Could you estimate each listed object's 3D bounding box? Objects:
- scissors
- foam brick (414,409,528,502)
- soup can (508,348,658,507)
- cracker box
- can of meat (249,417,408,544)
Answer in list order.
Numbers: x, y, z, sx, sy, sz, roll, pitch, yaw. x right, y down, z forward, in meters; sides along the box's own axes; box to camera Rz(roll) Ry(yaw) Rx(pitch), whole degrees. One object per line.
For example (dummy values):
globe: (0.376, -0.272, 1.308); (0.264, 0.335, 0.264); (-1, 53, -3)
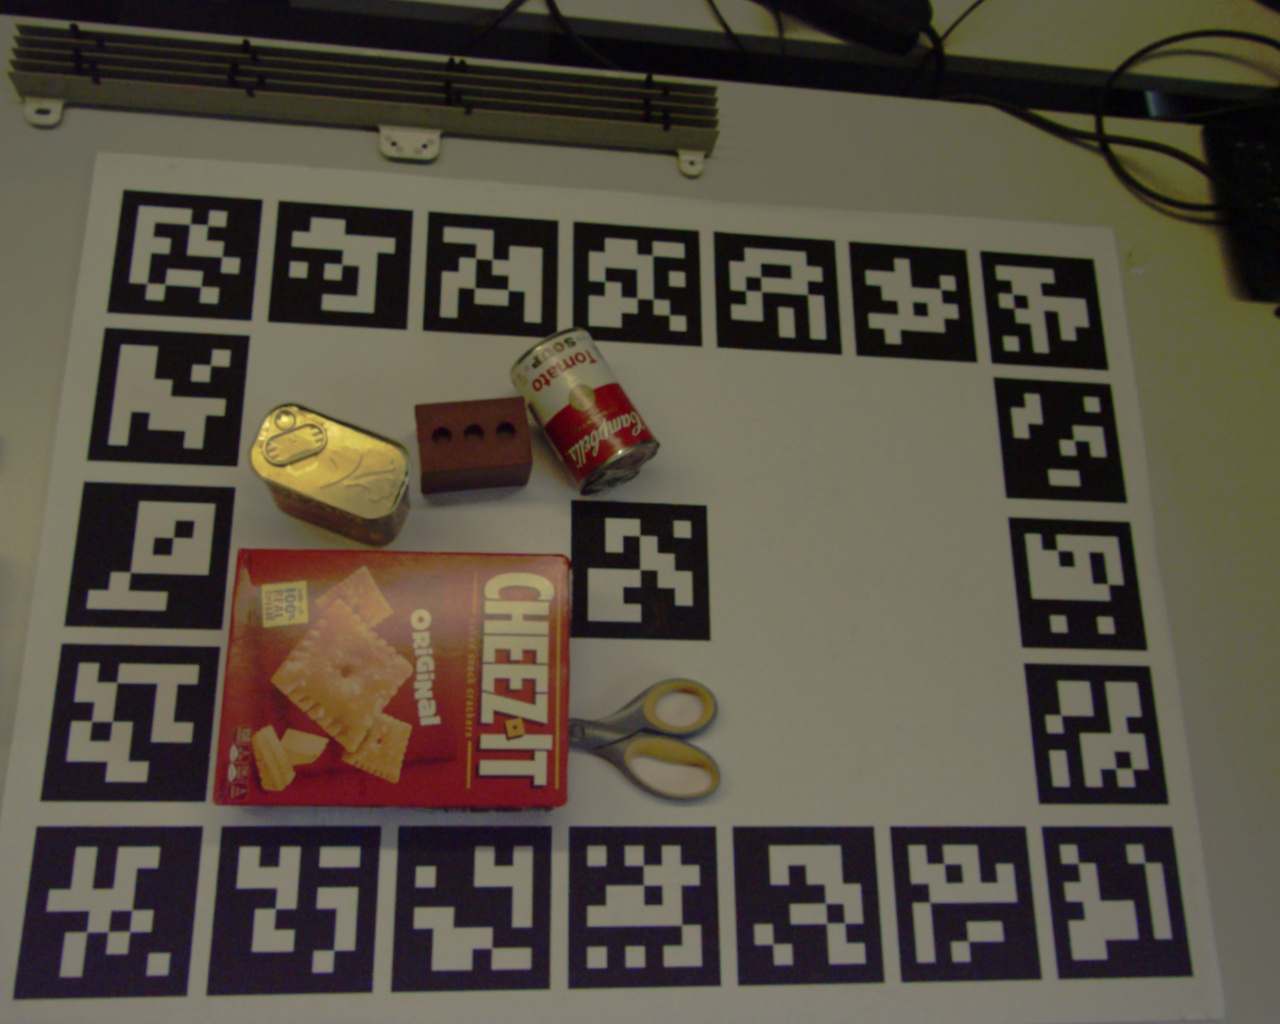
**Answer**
scissors: (-0.055, 0.165, 0.806); (0.202, 0.016, 0.088); (-2, 77, -9)
foam brick: (-0.125, -0.041, 0.843); (0.077, 0.051, 0.053); (-8, 78, -11)
soup can: (-0.044, -0.064, 0.860); (0.067, 0.068, 0.102); (-35, 78, -15)
cracker box: (-0.164, 0.118, 0.770); (0.213, 0.072, 0.164); (-3, 75, -5)
can of meat: (-0.216, -0.018, 0.804); (0.101, 0.084, 0.058); (16, 75, -5)
